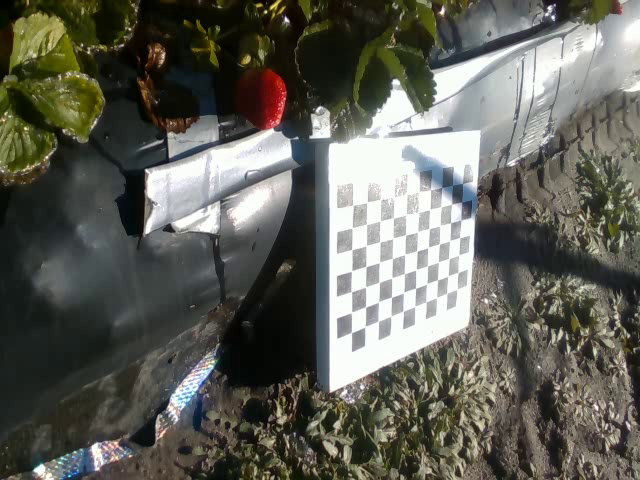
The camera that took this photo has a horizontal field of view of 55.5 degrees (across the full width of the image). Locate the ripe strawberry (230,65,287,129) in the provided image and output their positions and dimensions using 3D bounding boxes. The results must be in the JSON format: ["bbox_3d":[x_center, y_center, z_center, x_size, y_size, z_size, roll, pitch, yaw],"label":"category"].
[{"bbox_3d":[-0.050,-0.125,0.571,0.058,0.065,0.062,-33,-38,21],"label":"ripe strawberry"}]
